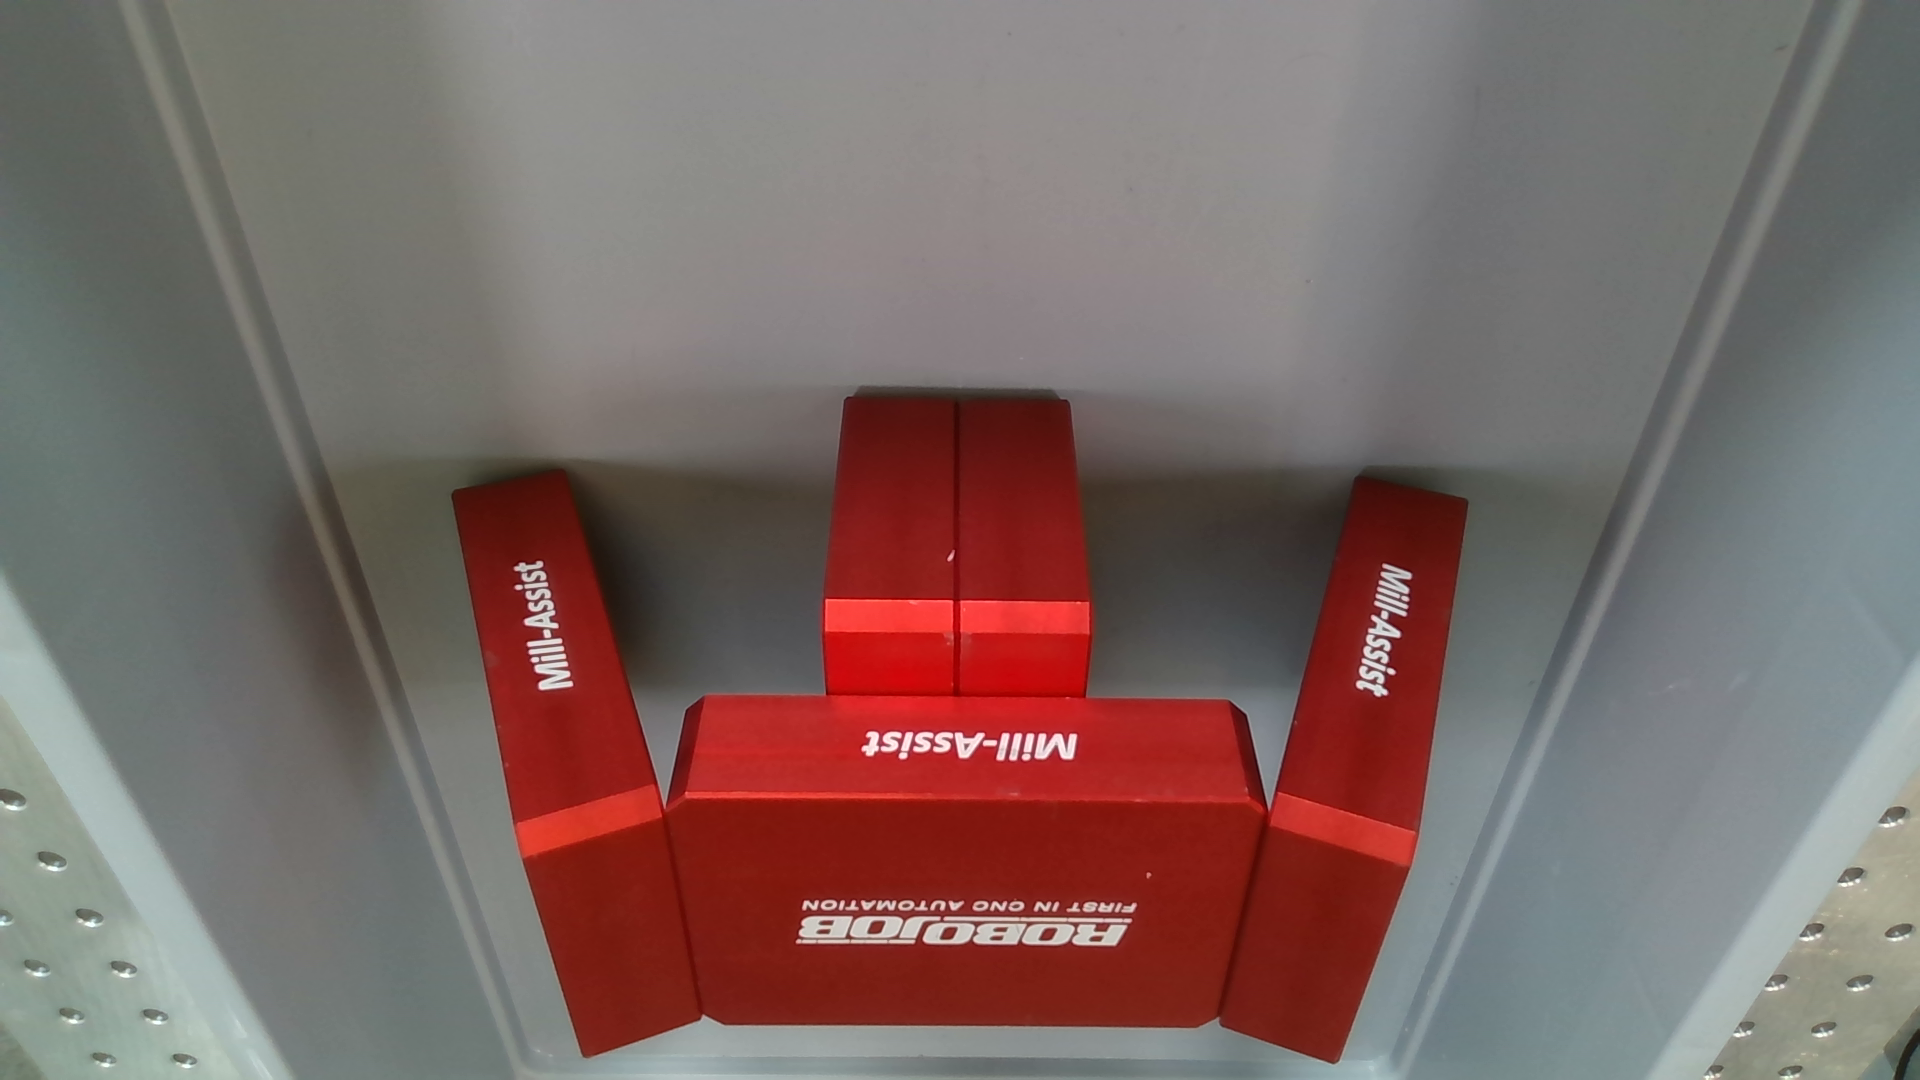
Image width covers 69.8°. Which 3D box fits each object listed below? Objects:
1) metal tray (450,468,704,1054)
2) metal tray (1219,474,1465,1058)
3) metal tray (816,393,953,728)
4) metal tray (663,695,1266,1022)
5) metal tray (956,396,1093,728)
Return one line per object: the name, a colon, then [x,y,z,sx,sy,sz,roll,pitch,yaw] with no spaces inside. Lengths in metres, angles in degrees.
metal tray: [-0.102,0.054,0.363,0.030,0.130,0.090,-14,133,-17]
metal tray: [0.102,0.055,0.365,0.030,0.130,0.090,14,132,15]
metal tray: [-0.018,0.037,0.377,0.030,0.090,0.130,1,130,-1]
metal tray: [0.001,0.079,0.334,0.130,0.030,0.090,1,131,-1]
metal tray: [0.014,0.037,0.377,0.030,0.090,0.130,1,130,-1]
